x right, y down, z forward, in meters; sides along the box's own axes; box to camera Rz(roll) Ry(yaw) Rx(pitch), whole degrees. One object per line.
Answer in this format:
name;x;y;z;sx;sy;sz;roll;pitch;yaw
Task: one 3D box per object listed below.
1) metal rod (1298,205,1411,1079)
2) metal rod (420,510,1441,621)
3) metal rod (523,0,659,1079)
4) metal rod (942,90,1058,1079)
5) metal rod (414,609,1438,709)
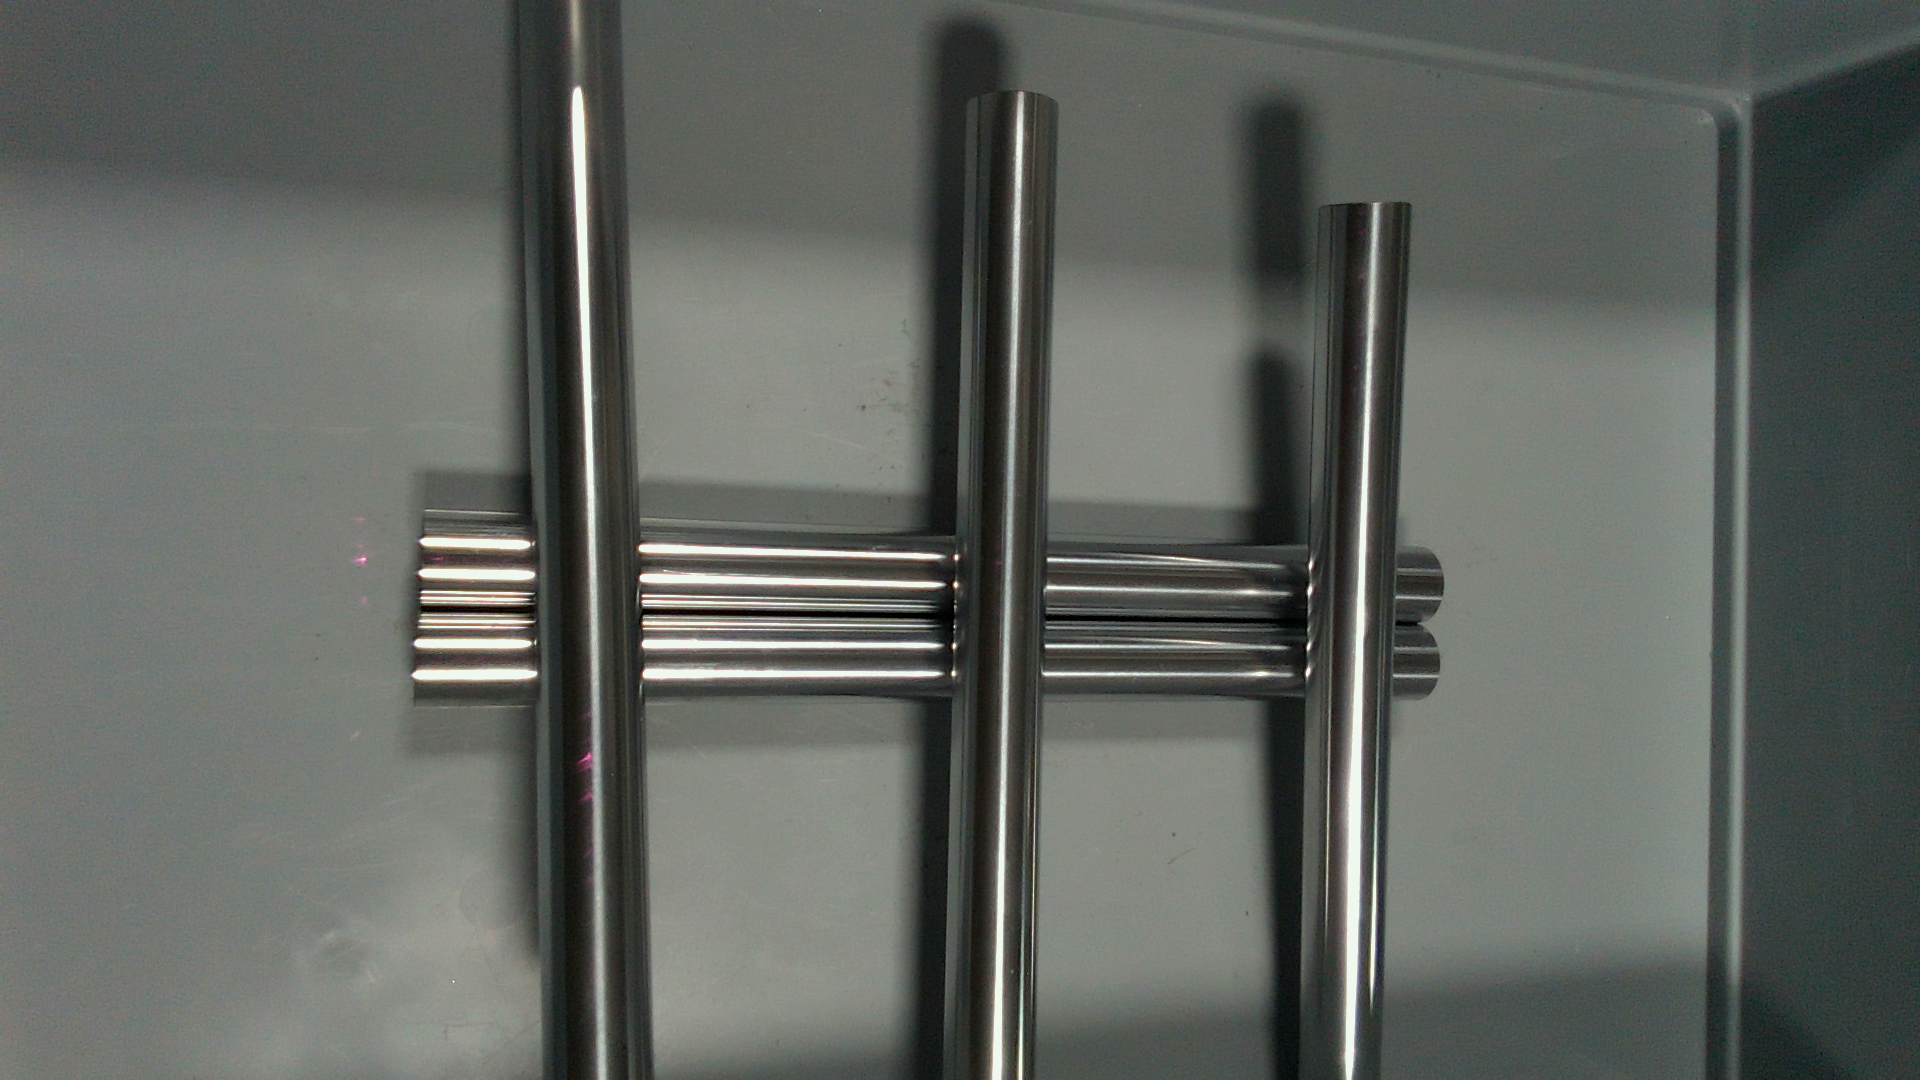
metal rod;0.116;0.055;0.411;0.025;0.025;0.300;-4;100;-20
metal rod;0.007;0.010;0.395;0.301;0.025;0.025;2;89;-20
metal rod;-0.090;-0.011;0.334;0.025;0.025;0.300;-1;82;-20
metal rod;0.010;0.033;0.370;0.025;0.025;0.300;1;90;-20
metal rod;0.006;0.034;0.395;0.301;0.025;0.025;2;89;-20
